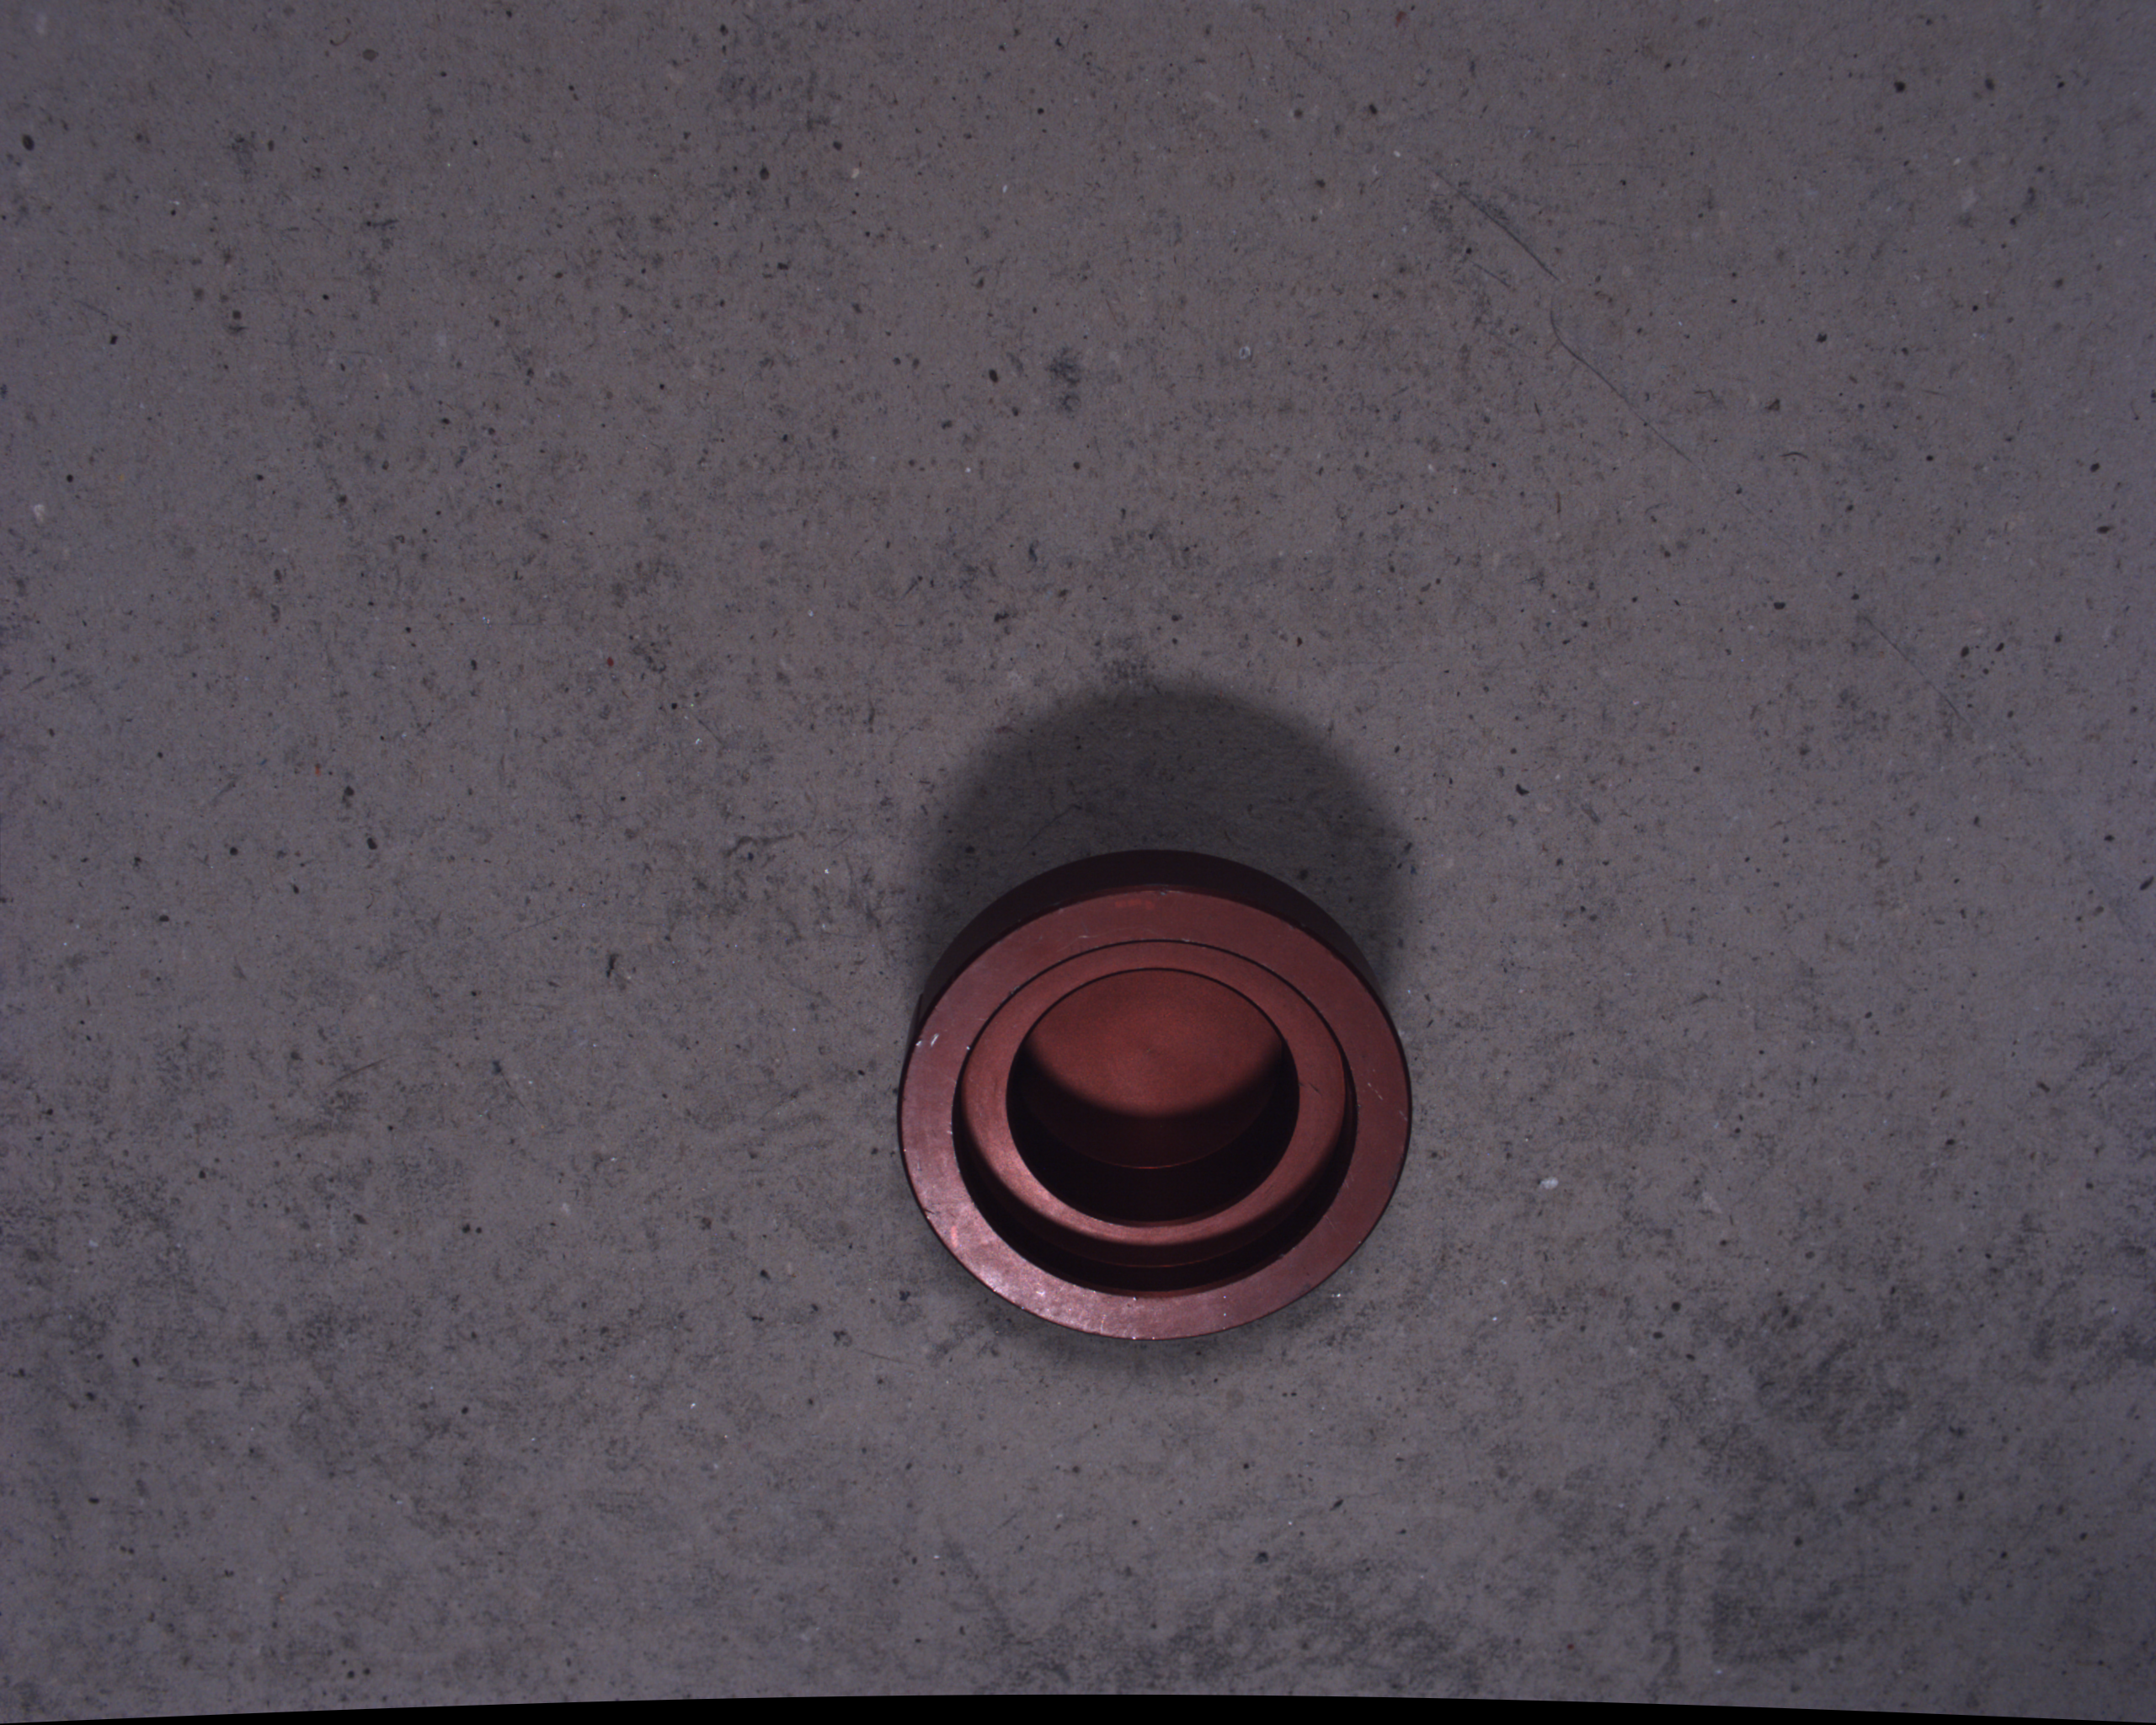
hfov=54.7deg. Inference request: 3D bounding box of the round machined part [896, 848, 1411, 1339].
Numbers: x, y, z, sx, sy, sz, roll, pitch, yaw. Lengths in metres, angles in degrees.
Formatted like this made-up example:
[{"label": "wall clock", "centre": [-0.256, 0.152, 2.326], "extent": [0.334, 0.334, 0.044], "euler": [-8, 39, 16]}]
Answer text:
[{"label": "round machined part", "centre": [0.014, 0.042, 0.418], "extent": [0.099, 0.042, 0.097], "euler": [0, 110, -1]}]
